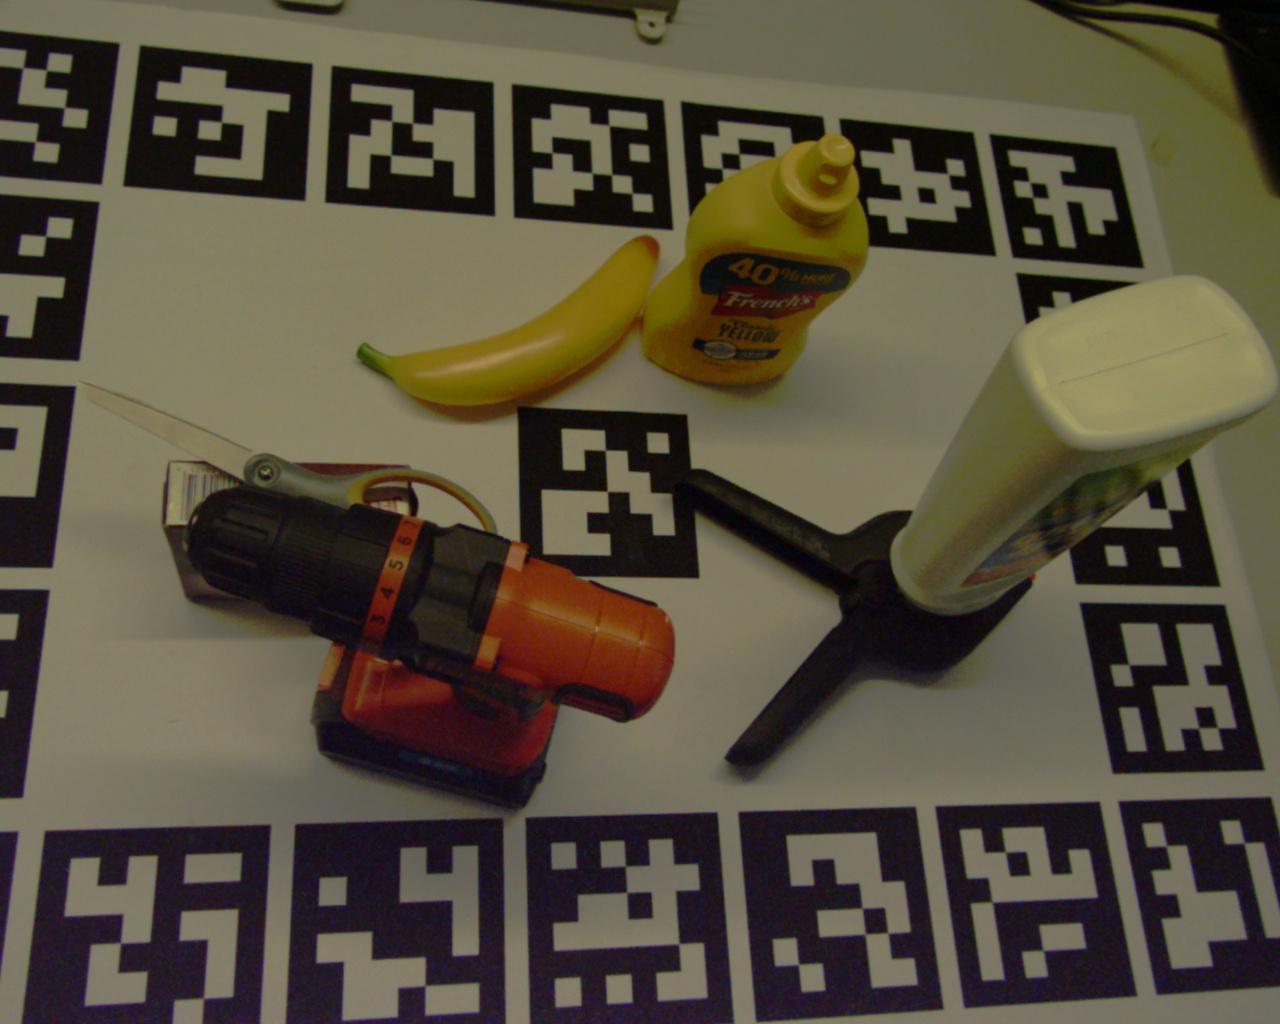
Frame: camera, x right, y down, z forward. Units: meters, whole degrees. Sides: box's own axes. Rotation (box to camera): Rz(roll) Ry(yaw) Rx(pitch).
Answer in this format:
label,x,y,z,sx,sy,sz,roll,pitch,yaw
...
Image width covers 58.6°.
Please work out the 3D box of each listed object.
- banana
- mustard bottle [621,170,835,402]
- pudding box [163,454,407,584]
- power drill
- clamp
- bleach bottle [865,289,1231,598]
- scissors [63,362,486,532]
label,x,y,z,sx,sy,sz,roll,pitch,yaw
banana,-0.064,-0.123,0.690,0.196,0.039,0.075,-39,65,-22
mustard bottle,0.056,-0.129,0.648,0.096,0.192,0.058,15,67,-9
pudding box,-0.181,0.010,0.591,0.113,0.090,0.039,6,62,-12
power drill,-0.102,0.064,0.504,0.184,0.187,0.057,13,61,-5
clamp,0.123,0.039,0.662,0.201,0.037,0.166,-5,73,-16
bleach bottle,0.180,-0.011,0.579,0.102,0.250,0.068,-19,71,-12
scissors,-0.176,-0.019,0.533,0.202,0.016,0.087,26,70,-7
